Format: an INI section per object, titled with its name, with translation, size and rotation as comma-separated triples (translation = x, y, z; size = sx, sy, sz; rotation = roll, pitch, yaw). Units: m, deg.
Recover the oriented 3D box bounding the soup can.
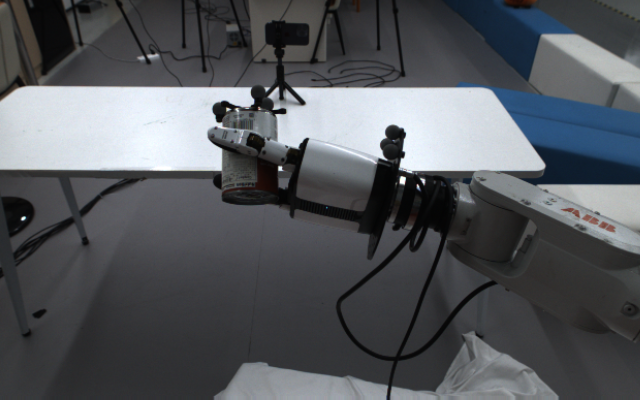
[soup can]
translation = -0.081, -0.050, 0.574
size = 0.067, 0.067, 0.101
rotation = -1, 77, -5
